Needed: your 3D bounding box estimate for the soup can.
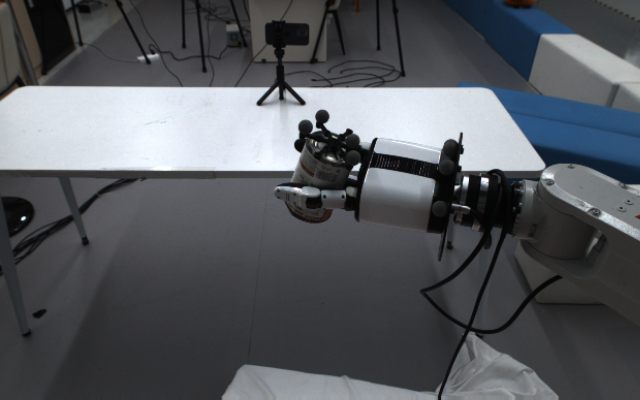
[{"bbox_3d":[0.000,-0.029,0.622,0.067,0.101,0.067,14,39,-12],"label":"soup can"}]
